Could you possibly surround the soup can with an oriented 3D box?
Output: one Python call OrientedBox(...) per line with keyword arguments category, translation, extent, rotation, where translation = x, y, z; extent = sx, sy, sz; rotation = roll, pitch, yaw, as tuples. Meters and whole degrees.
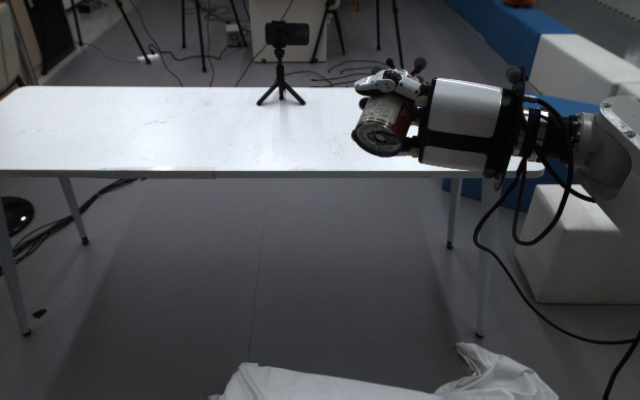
OrientedBox(category="soup can", translation=(0.092, -0.121, 0.656), extent=(0.067, 0.067, 0.101), rotation=(15, 63, 18))
